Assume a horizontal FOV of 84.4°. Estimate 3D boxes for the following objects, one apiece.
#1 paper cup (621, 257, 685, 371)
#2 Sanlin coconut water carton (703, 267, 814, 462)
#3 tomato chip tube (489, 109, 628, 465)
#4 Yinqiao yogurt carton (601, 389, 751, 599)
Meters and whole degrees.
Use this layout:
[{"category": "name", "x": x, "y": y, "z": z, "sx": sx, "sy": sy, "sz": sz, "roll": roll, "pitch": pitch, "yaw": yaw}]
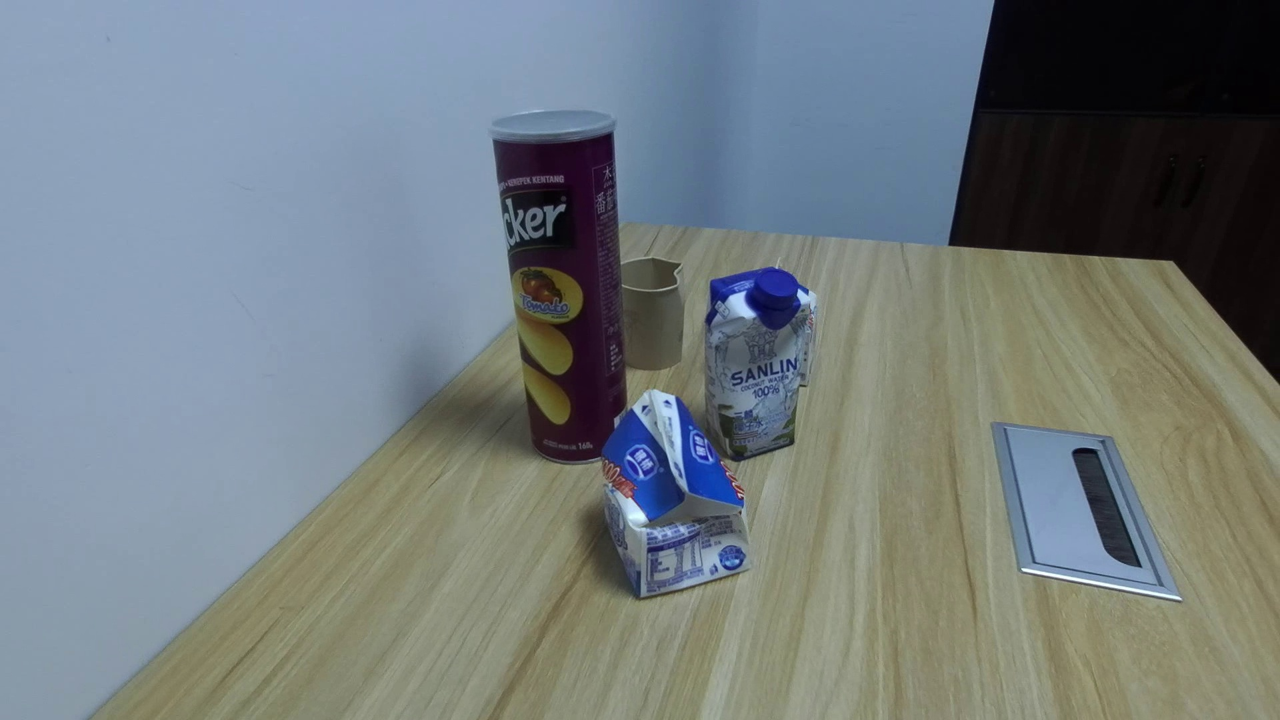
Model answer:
[{"category": "paper cup", "x": 0.009, "y": -0.039, "z": 0.627, "sx": 0.073, "sy": 0.081, "sz": 0.069, "roll": 18, "pitch": 33, "yaw": 36}, {"category": "Sanlin coconut water carton", "x": 0.081, "y": -0.001, "z": 0.498, "sx": 0.078, "sy": 0.142, "sz": 0.057, "roll": -15, "pitch": 37, "yaw": -21}, {"category": "tomato chip tube", "x": -0.049, "y": -0.044, "z": 0.491, "sx": 0.078, "sy": 0.234, "sz": 0.078, "roll": -2, "pitch": 28, "yaw": 1}, {"category": "Yinqiao yogurt carton", "x": 0.019, "y": 0.072, "z": 0.419, "sx": 0.077, "sy": 0.093, "sz": 0.083, "roll": -11, "pitch": 31, "yaw": -15}]
